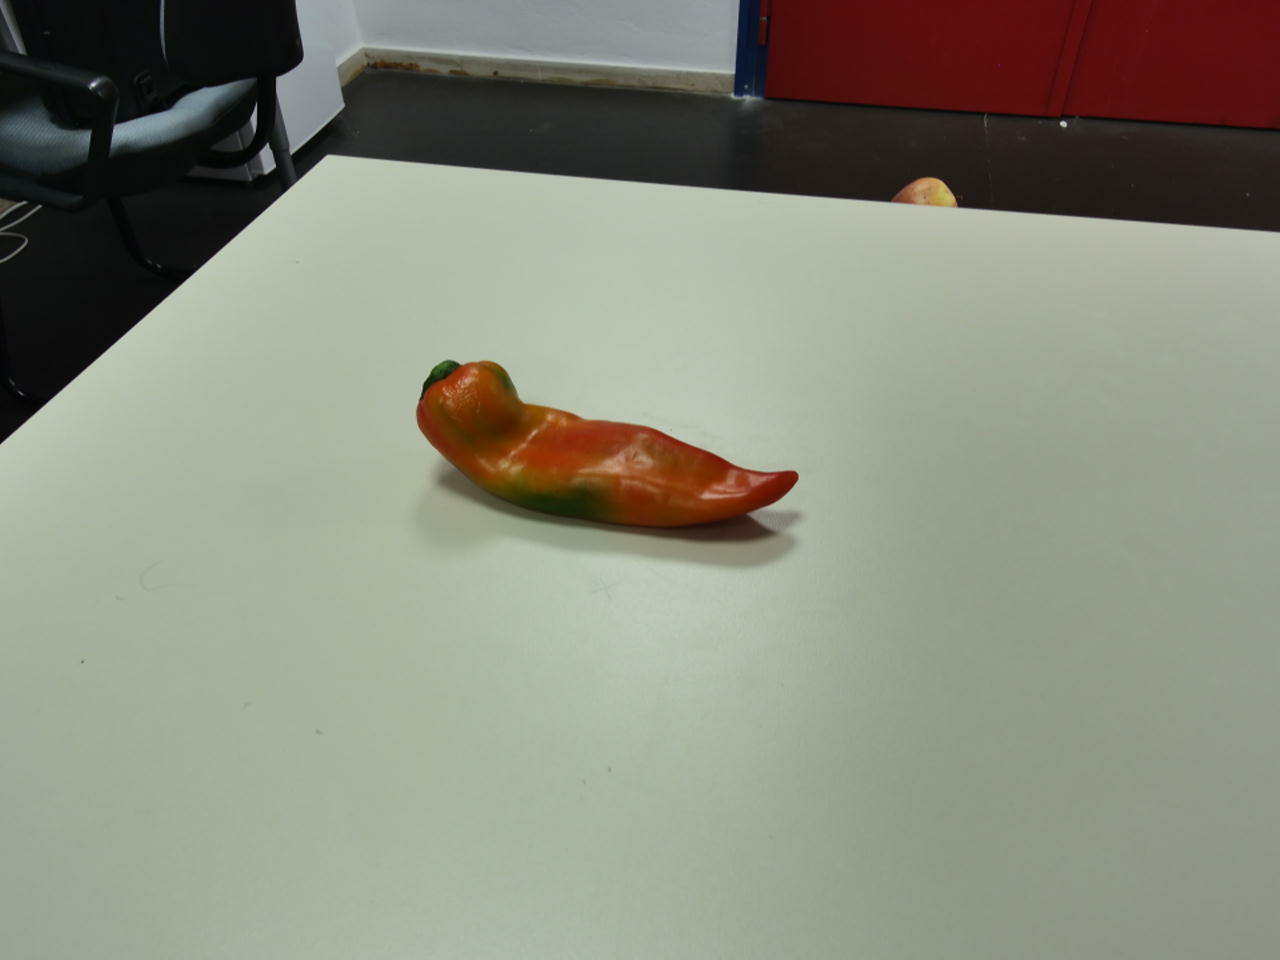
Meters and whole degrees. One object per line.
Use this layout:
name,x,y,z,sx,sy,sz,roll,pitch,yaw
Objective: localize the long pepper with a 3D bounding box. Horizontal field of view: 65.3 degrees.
long pepper,-0.020,-0.019,0.510,0.199,0.065,0.066,12,40,14
